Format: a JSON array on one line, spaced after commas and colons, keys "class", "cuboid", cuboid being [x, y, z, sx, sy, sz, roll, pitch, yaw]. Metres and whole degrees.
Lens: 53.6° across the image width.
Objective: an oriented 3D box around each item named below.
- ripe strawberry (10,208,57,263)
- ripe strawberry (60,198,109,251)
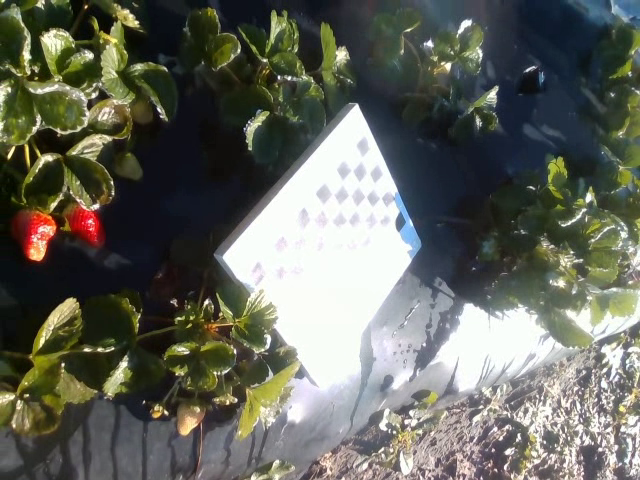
[{"class": "ripe strawberry", "cuboid": [-0.320, -0.002, 0.710, 0.040, 0.070, 0.052, 4, 2, 39]}, {"class": "ripe strawberry", "cuboid": [-0.275, -0.018, 0.736, 0.040, 0.059, 0.044, 10, 52, 49]}]
